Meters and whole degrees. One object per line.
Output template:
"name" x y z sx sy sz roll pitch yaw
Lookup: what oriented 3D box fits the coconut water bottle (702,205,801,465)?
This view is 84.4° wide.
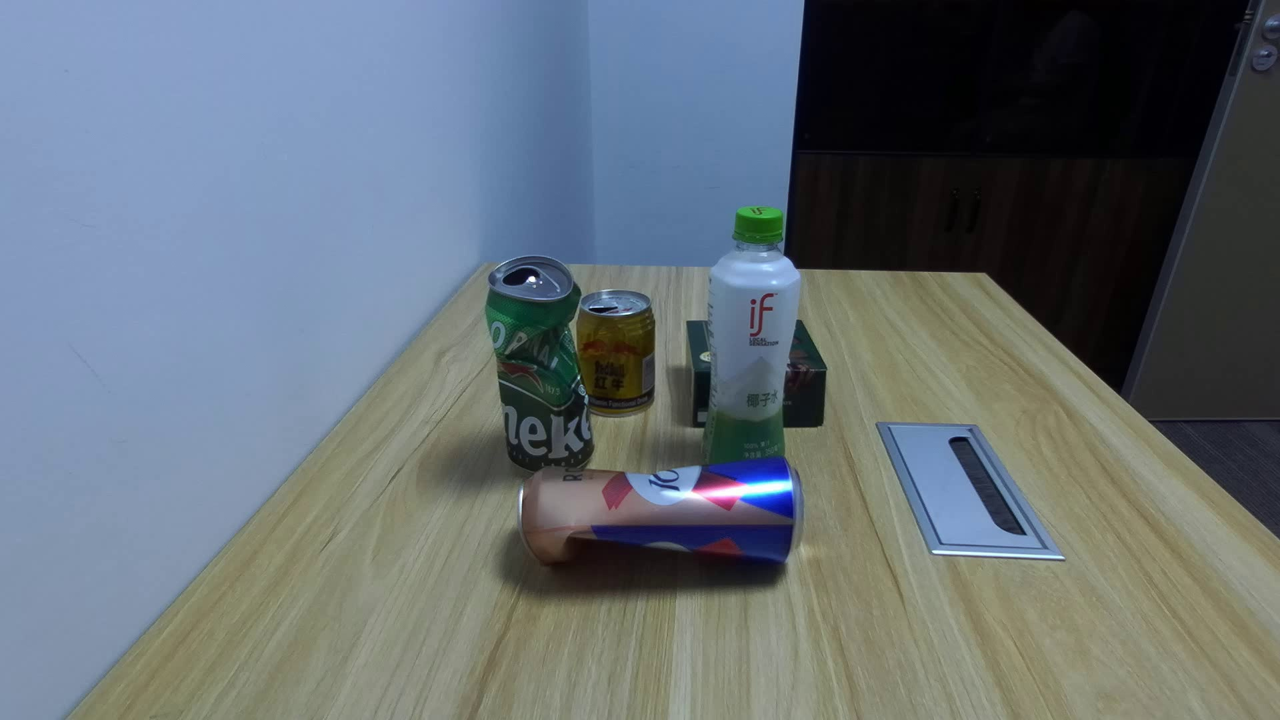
"coconut water bottle" 0.077 -0.009 0.489 0.063 0.189 0.063 0 24 0

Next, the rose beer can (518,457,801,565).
"rose beer can" 0.012 0.090 0.427 0.168 0.069 0.070 -2 45 1

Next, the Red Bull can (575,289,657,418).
"Red Bull can" -0.020 -0.007 0.599 0.069 0.092 0.069 0 25 0

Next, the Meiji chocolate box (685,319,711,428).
"Meiji chocolate box" 0.097 0.009 0.611 0.109 0.056 0.110 -2 25 1

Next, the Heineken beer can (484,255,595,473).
"Heineken beer can" -0.070 0.008 0.501 0.067 0.159 0.078 -12 34 -17
